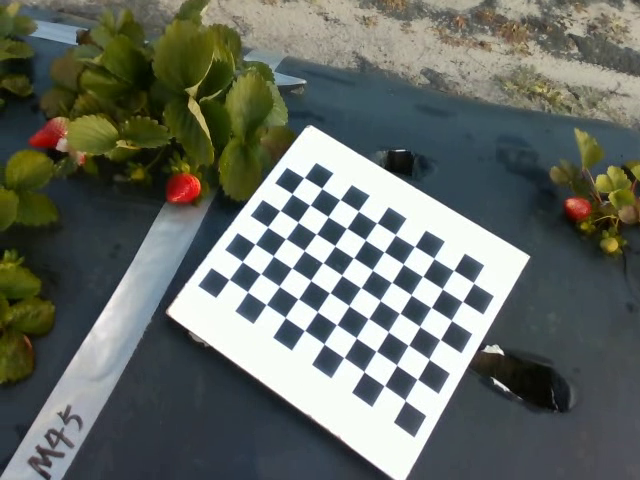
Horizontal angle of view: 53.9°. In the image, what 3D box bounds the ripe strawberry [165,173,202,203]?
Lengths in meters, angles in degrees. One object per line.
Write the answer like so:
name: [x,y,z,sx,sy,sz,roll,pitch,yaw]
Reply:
ripe strawberry: [-0.142,-0.051,0.643,0.050,0.055,0.036,30,-38,2]
